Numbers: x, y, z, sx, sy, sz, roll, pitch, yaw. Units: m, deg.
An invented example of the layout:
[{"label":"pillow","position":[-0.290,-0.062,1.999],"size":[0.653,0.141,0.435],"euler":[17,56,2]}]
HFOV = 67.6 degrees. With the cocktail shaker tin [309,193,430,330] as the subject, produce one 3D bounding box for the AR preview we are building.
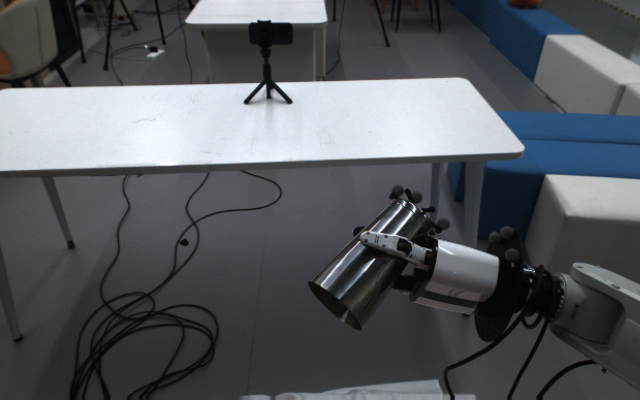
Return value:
[{"label":"cocktail shaker tin","position":[0.075,0.076,0.653],"size":[0.093,0.093,0.170],"euler":[32,67,35]}]
